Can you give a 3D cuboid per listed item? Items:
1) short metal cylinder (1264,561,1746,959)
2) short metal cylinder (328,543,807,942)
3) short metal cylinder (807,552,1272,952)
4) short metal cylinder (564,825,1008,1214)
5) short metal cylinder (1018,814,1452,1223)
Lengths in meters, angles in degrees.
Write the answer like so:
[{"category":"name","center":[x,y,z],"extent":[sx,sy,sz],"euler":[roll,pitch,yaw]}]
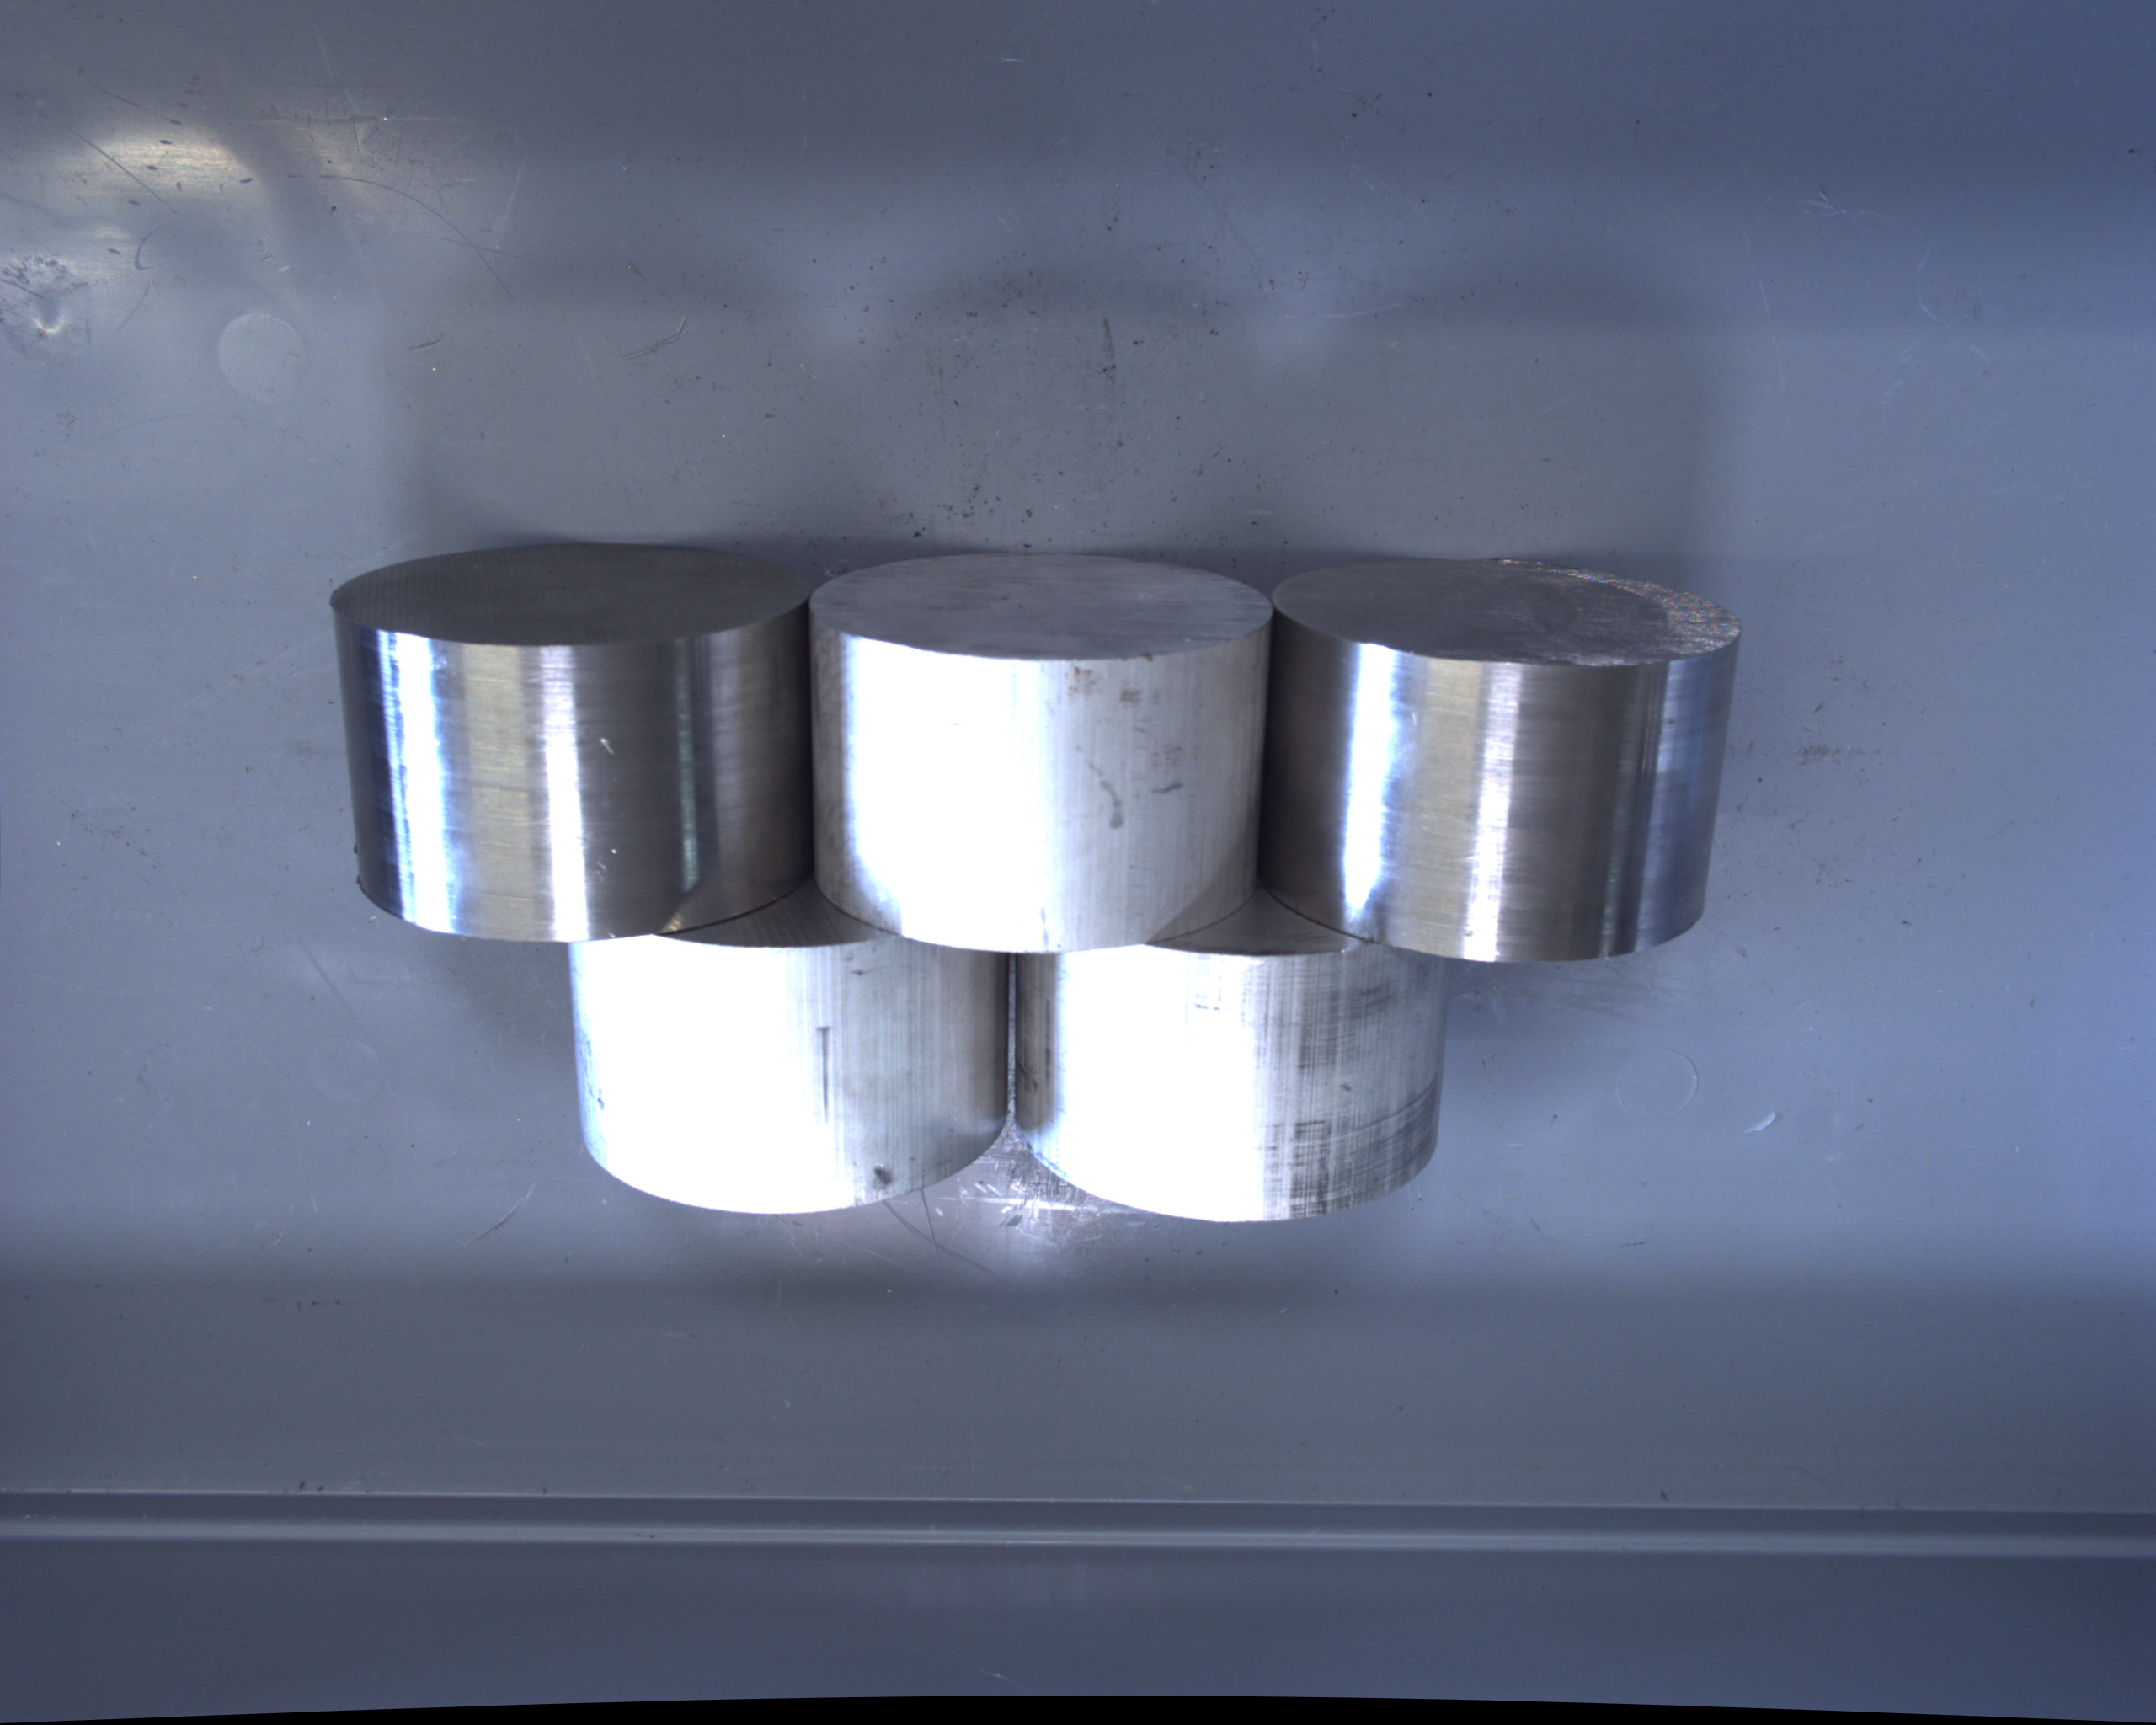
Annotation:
[{"category":"short metal cylinder","center":[0.074,-0.021,0.373],"extent":[0.081,0.080,0.050],"euler":[2,110,-1]},{"category":"short metal cylinder","center":[-0.088,-0.024,0.370],"extent":[0.081,0.080,0.050],"euler":[1,110,-1]},{"category":"short metal cylinder","center":[-0.007,-0.022,0.372],"extent":[0.081,0.080,0.050],"euler":[1,110,-1]},{"category":"short metal cylinder","center":[-0.053,0.023,0.388],"extent":[0.081,0.080,0.050],"euler":[1,110,-1]},{"category":"short metal cylinder","center":[0.029,0.025,0.390],"extent":[0.081,0.080,0.050],"euler":[1,110,-1]}]
